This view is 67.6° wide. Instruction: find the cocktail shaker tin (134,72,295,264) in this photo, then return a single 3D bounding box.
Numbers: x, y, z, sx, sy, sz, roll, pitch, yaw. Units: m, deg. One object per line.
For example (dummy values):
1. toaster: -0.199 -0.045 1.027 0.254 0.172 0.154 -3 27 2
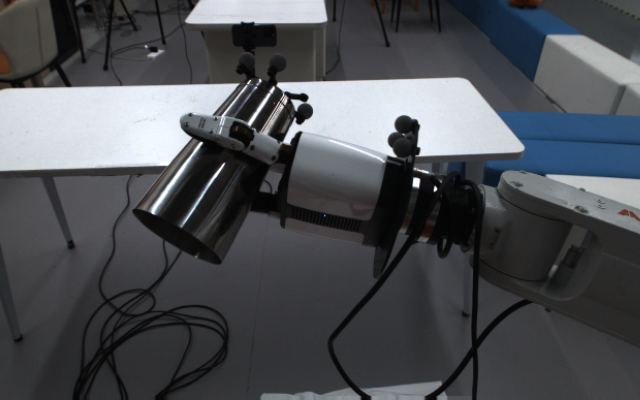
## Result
1. cocktail shaker tin: -0.089 -0.036 0.469 0.093 0.093 0.170 18 66 22
